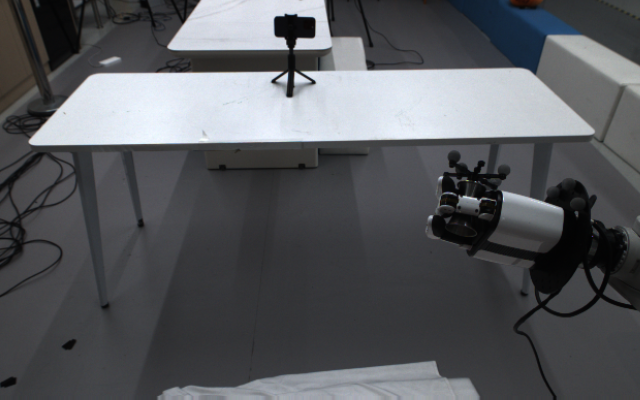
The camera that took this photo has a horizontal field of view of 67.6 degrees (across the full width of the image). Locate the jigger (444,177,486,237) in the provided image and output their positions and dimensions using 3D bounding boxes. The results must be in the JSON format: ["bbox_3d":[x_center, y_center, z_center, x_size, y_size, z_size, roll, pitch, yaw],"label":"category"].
[{"bbox_3d":[0.204,0.010,0.671,0.043,0.043,0.071,13,72,15],"label":"jigger"}]
